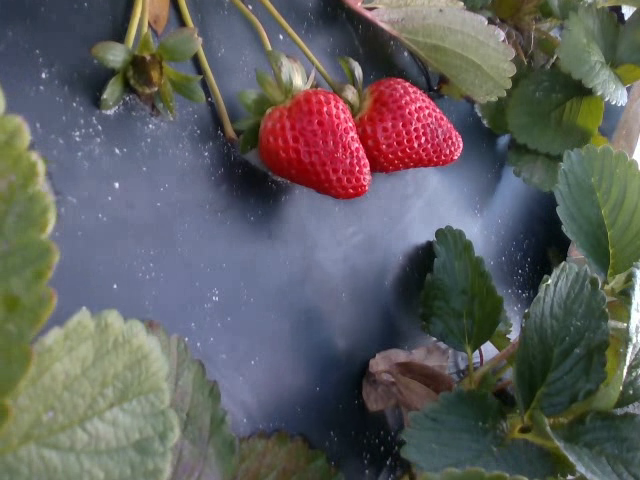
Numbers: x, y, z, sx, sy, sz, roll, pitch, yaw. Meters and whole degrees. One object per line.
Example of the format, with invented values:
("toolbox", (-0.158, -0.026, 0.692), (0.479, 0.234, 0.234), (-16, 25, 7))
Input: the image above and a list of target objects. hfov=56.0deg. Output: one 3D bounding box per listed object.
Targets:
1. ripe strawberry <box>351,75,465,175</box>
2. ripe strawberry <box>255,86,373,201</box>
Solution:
("ripe strawberry", (0.046, -0.056, 0.301), (0.064, 0.058, 0.051), (23, -29, -7))
("ripe strawberry", (0.002, -0.039, 0.260), (0.048, 0.056, 0.041), (-32, -7, -45))
